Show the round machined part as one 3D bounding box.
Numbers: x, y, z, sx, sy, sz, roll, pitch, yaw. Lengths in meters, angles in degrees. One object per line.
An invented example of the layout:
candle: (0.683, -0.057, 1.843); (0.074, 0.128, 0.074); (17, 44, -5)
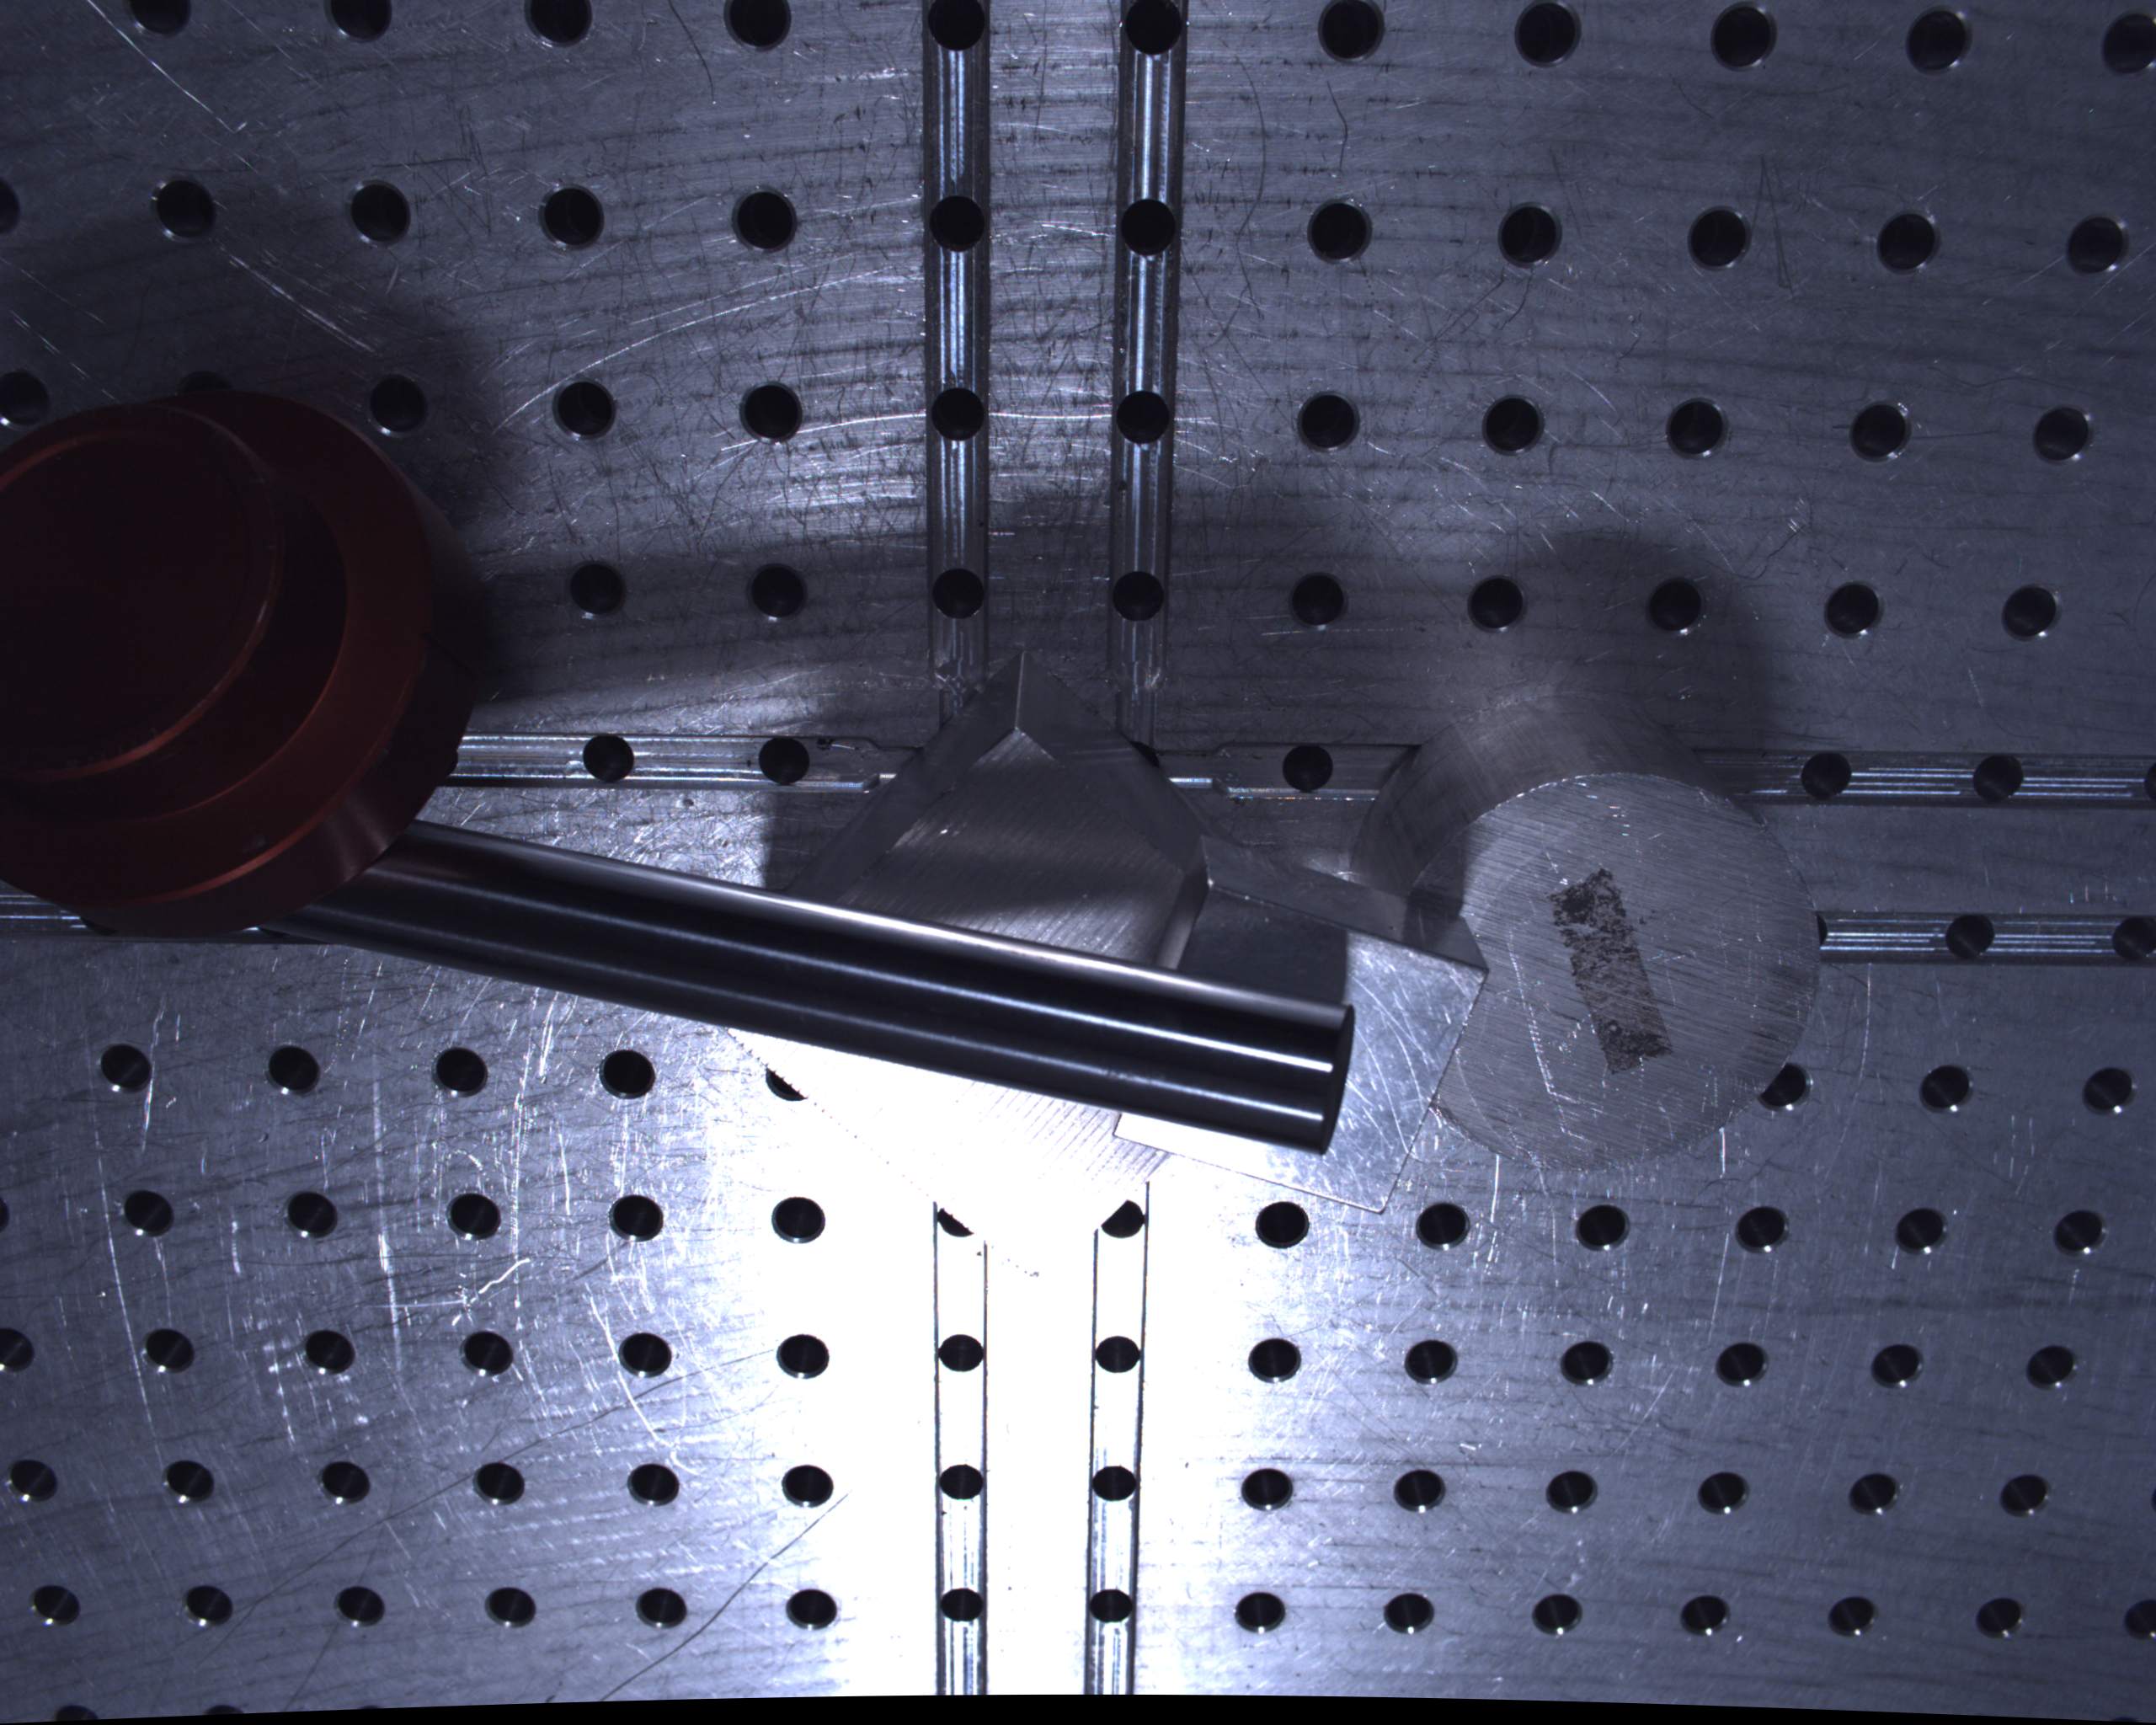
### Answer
round machined part: (-0.158, -0.039, 0.359); (0.098, 0.042, 0.098); (-3, 71, 10)

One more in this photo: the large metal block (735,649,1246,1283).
large metal block: (-0.009, 0.019, 0.405); (0.080, 0.050, 0.080); (42, 104, -14)

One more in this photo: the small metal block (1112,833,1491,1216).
small metal block: (0.038, 0.029, 0.369); (0.050, 0.025, 0.050); (17, 109, -7)

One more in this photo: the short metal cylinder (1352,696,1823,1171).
short metal cylinder: (0.096, 0.013, 0.406); (0.081, 0.050, 0.079); (0, 110, -1)

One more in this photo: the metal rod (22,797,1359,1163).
metal rod: (-0.102, 0.008, 0.369); (0.301, 0.025, 0.025); (11, 111, 13)
